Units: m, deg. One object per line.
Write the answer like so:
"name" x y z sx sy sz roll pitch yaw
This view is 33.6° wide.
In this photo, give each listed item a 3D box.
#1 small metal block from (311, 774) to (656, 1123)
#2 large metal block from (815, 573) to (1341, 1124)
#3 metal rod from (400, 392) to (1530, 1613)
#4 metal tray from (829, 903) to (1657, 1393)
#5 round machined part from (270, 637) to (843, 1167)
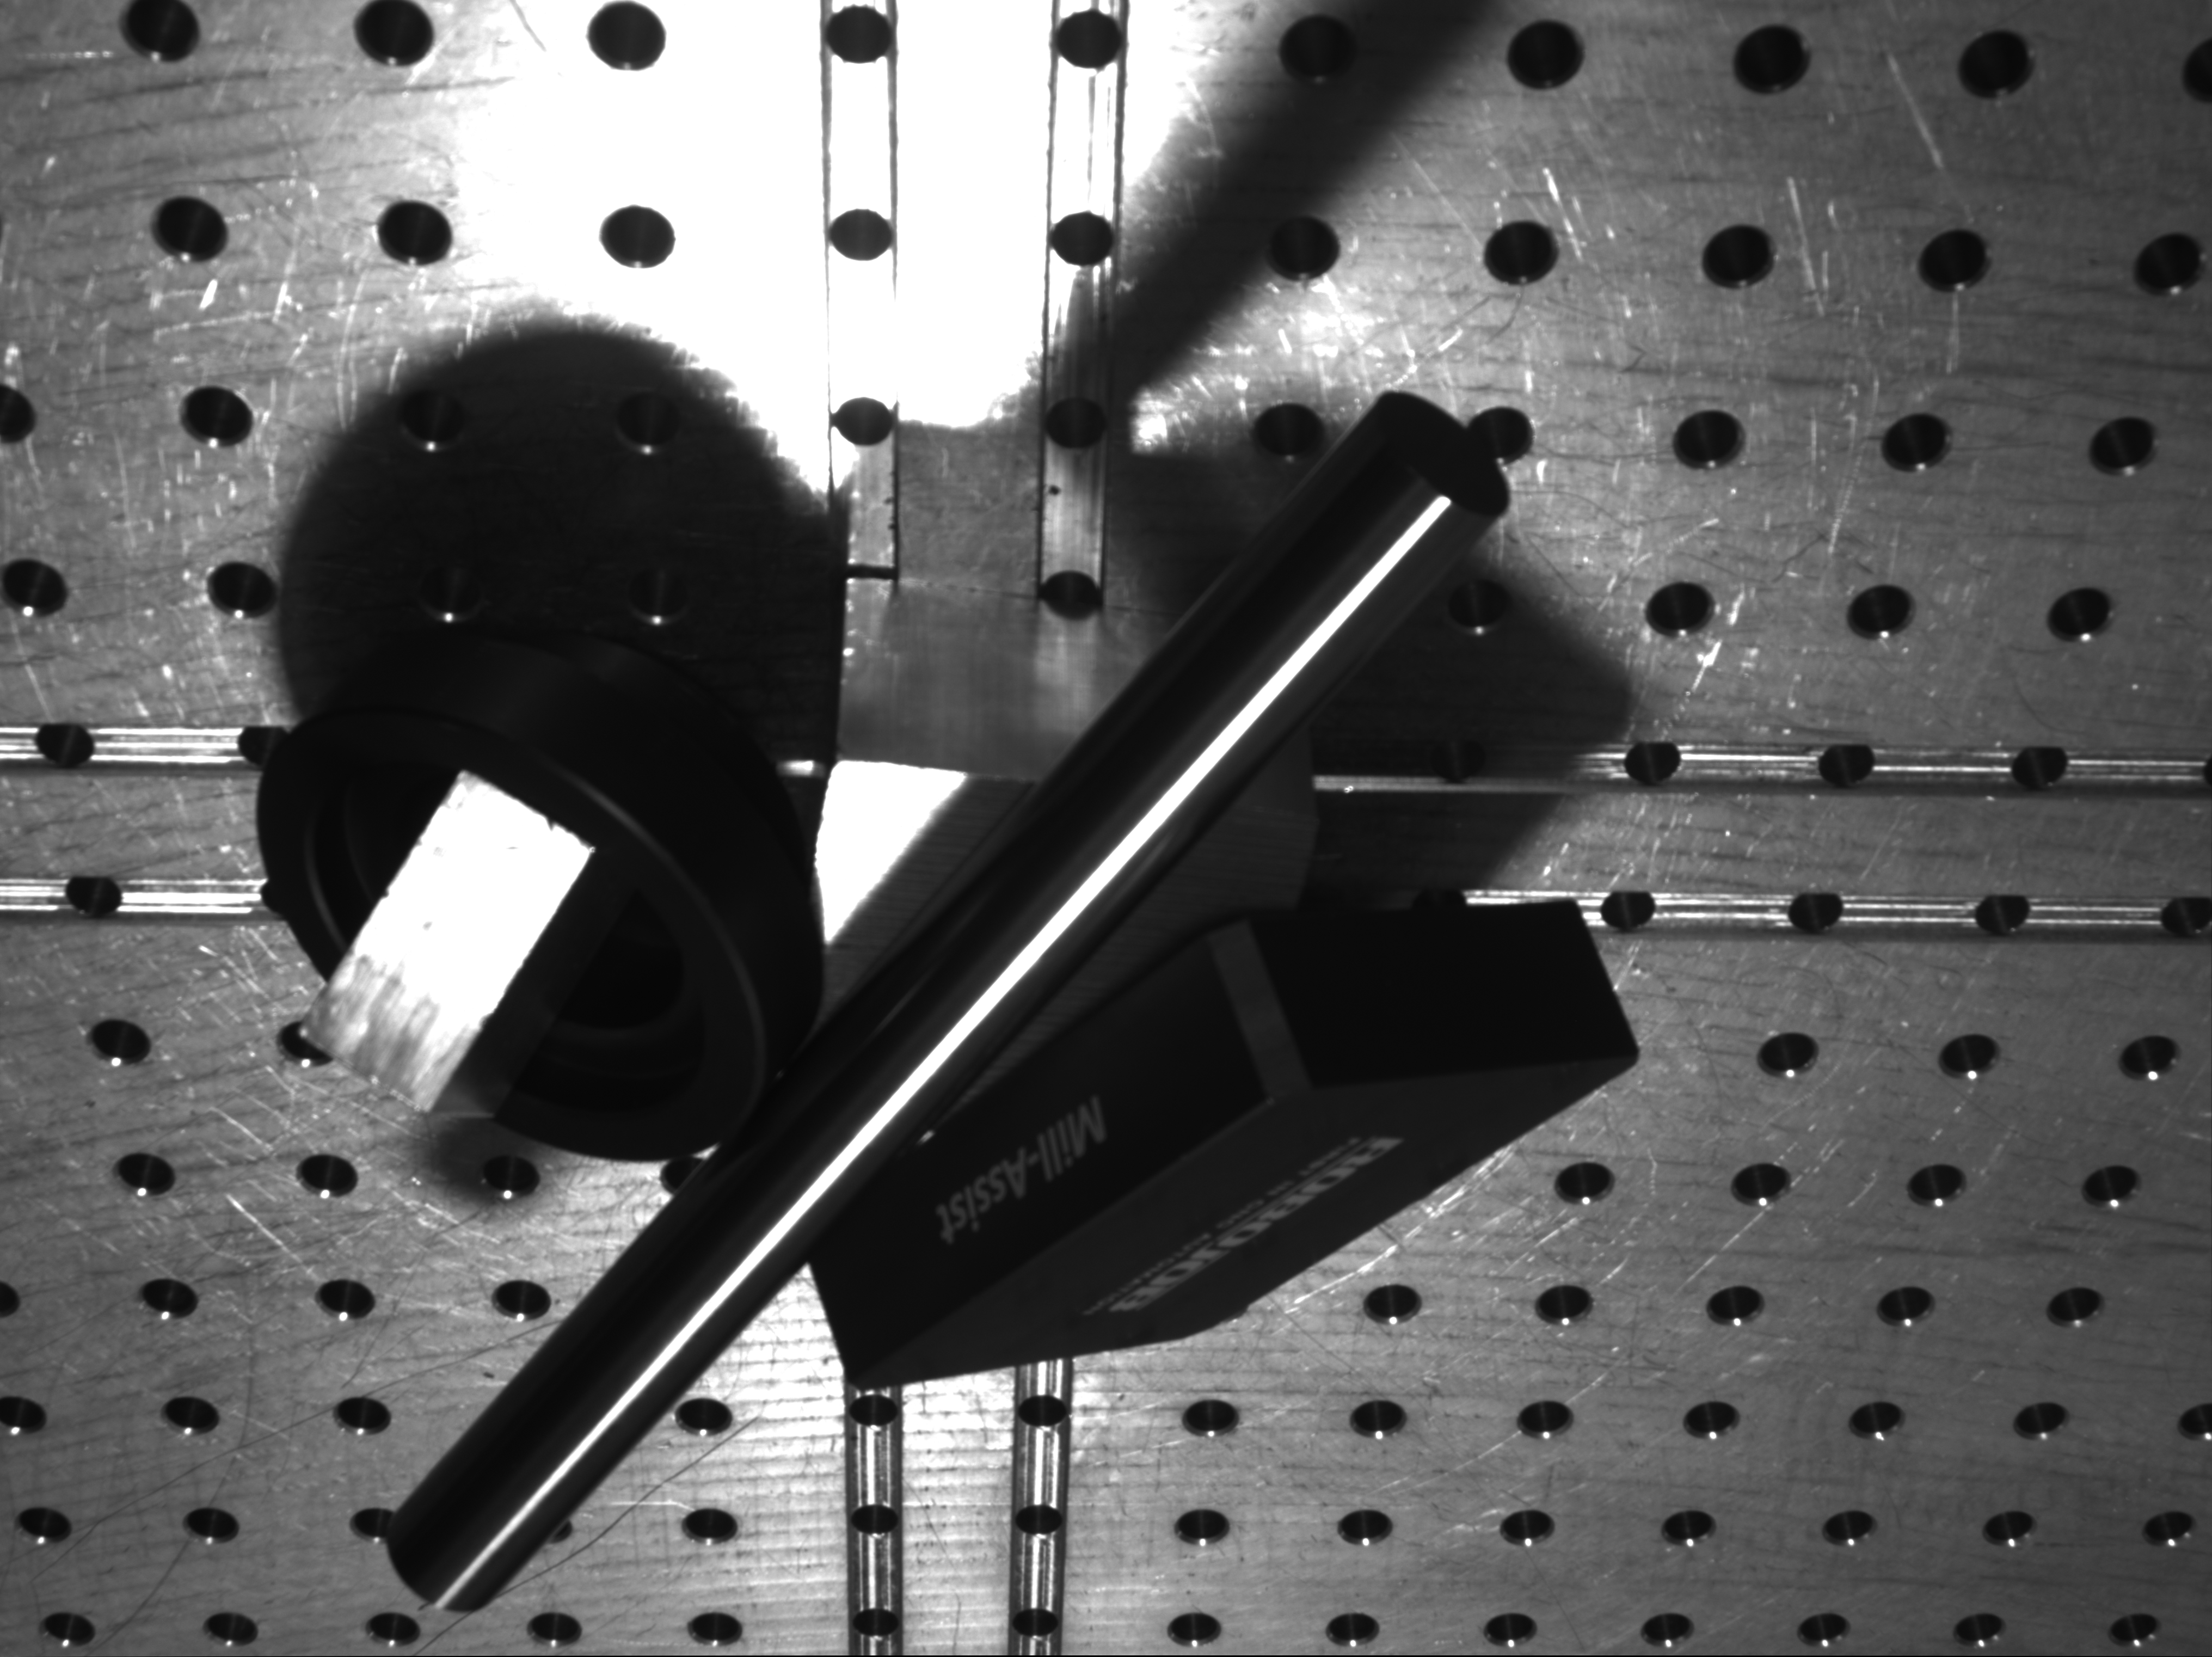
"small metal block" -0.100 0.020 0.602 0.025 0.050 0.050 32 87 5
"large metal block" -0.009 0.008 0.631 0.080 0.050 0.080 7 129 -8
"metal rod" -0.035 0.041 0.609 0.025 0.025 0.300 28 124 -23
"metal tray" 0.021 0.057 0.643 0.090 0.030 0.130 -2 154 -42
"round machined part" -0.088 0.007 0.616 0.098 0.042 0.098 17 135 18
